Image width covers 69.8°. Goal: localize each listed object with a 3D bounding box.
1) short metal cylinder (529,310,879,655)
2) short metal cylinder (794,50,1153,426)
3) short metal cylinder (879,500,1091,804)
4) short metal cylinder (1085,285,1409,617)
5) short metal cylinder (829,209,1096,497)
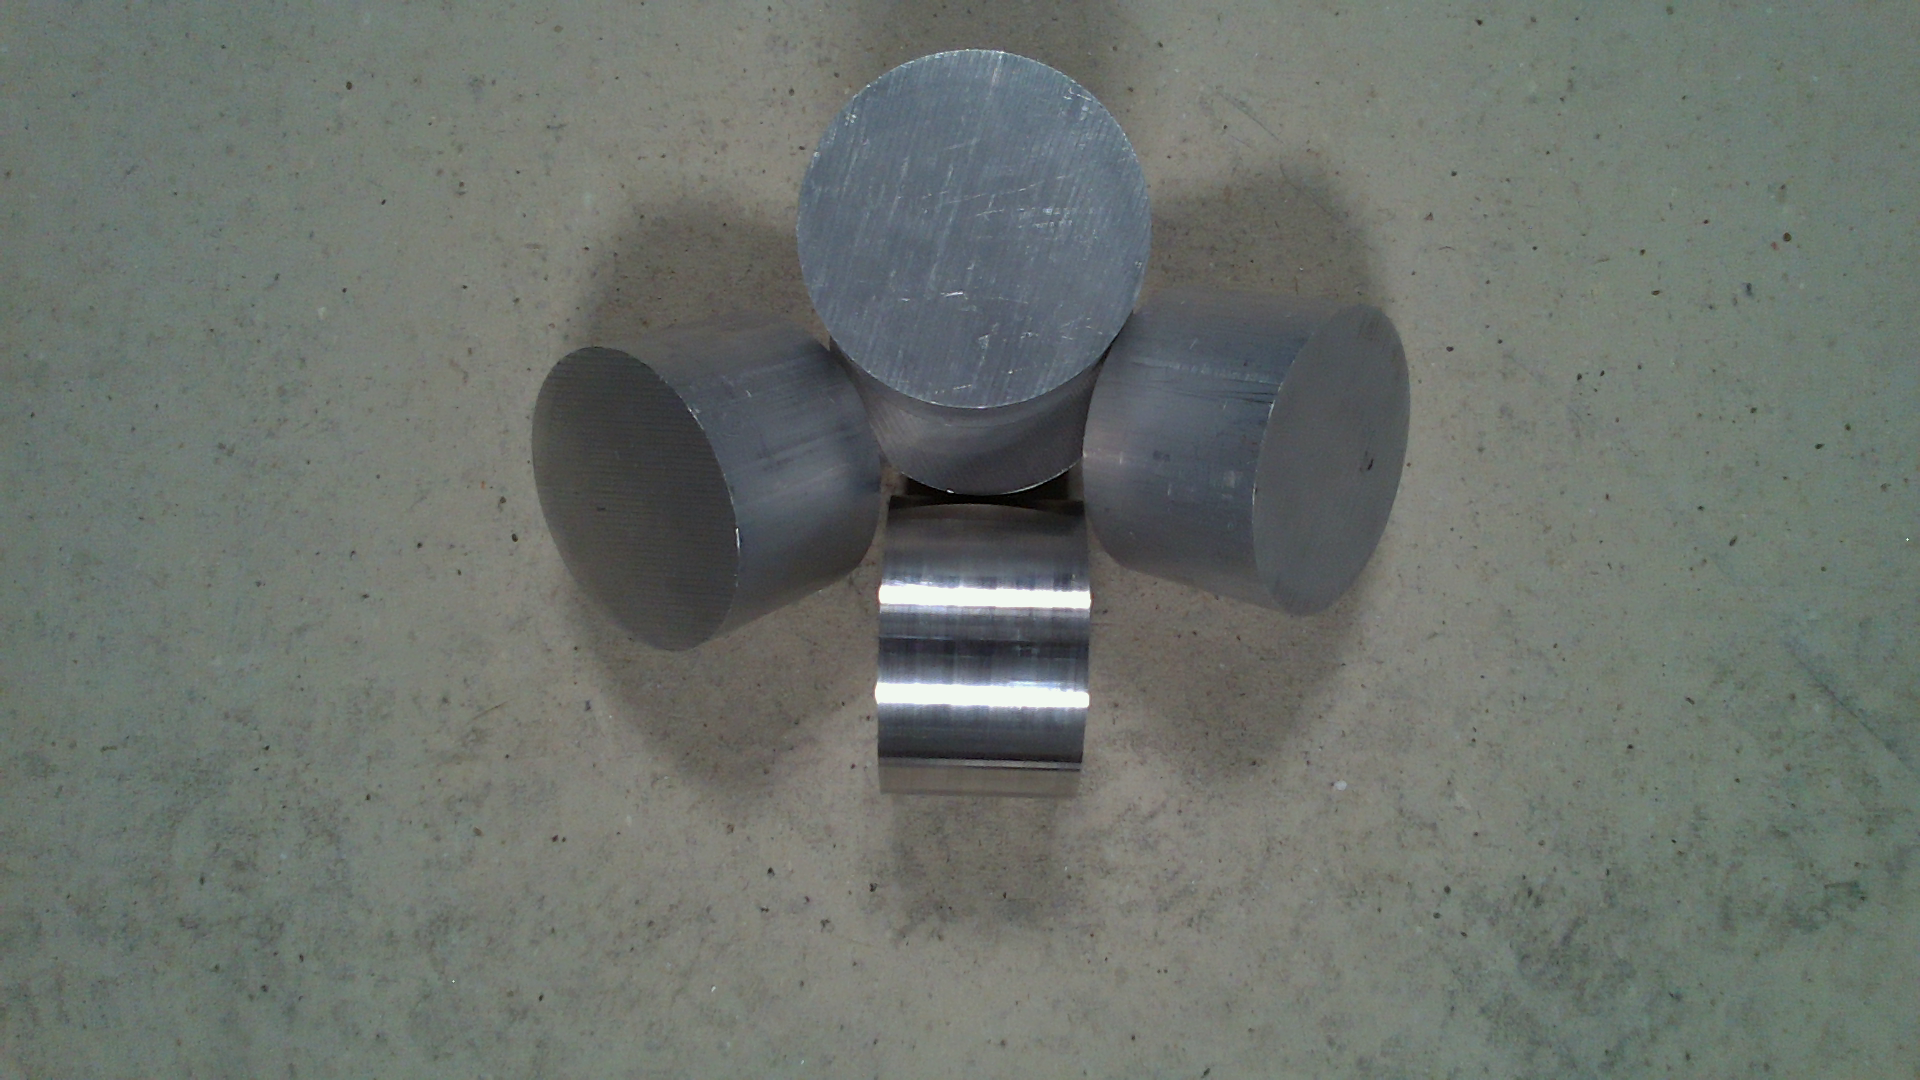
[{"bbox_3d":[-0.068,-0.016,0.363,0.080,0.050,0.080,17,118,35],"label":"short metal cylinder"},{"bbox_3d":[0.003,-0.070,0.332,0.080,0.050,0.080,0,90,0],"label":"short metal cylinder"},{"bbox_3d":[0.006,0.030,0.367,0.050,0.080,0.080,2,90,0],"label":"short metal cylinder"},{"bbox_3d":[0.077,-0.025,0.362,0.050,0.080,0.080,15,90,39],"label":"short metal cylinder"},{"bbox_3d":[0.006,-0.052,0.383,0.080,0.050,0.080,0,90,0],"label":"short metal cylinder"}]
